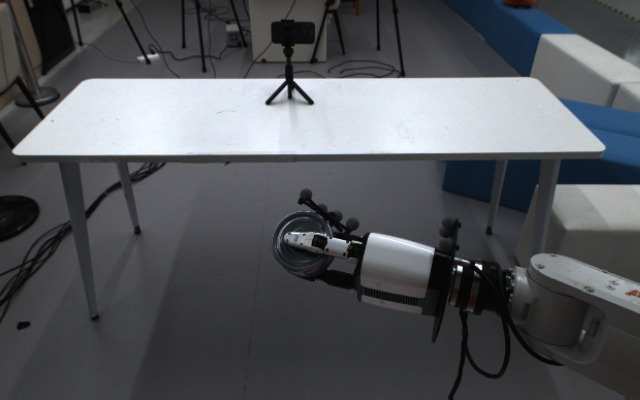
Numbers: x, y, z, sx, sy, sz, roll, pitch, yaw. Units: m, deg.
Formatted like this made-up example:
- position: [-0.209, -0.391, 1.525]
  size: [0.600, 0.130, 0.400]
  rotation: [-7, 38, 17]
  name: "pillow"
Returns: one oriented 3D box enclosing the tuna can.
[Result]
- position: [-0.018, 0.065, 0.649]
  size: [0.085, 0.034, 0.085]
  rotation: [-4, 69, 10]
  name: "tuna can"
